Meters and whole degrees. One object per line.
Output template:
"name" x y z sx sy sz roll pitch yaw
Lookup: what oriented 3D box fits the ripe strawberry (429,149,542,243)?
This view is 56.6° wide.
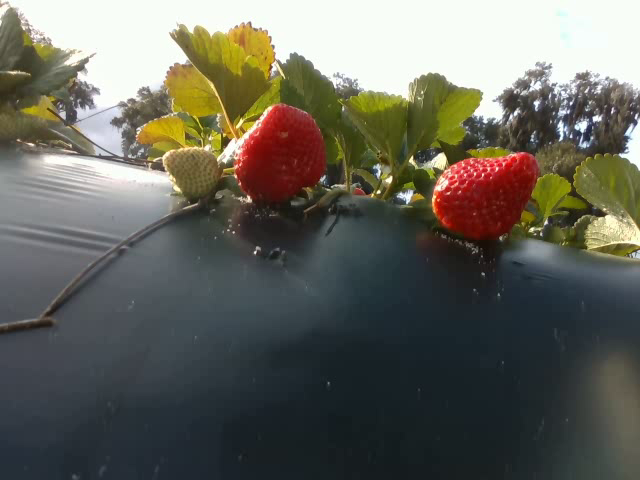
"ripe strawberry" 0.055 -0.020 0.185 0.033 0.038 0.039 31 -31 4

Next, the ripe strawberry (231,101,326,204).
"ripe strawberry" -0.013 -0.034 0.195 0.035 0.041 0.036 -2 -23 4
